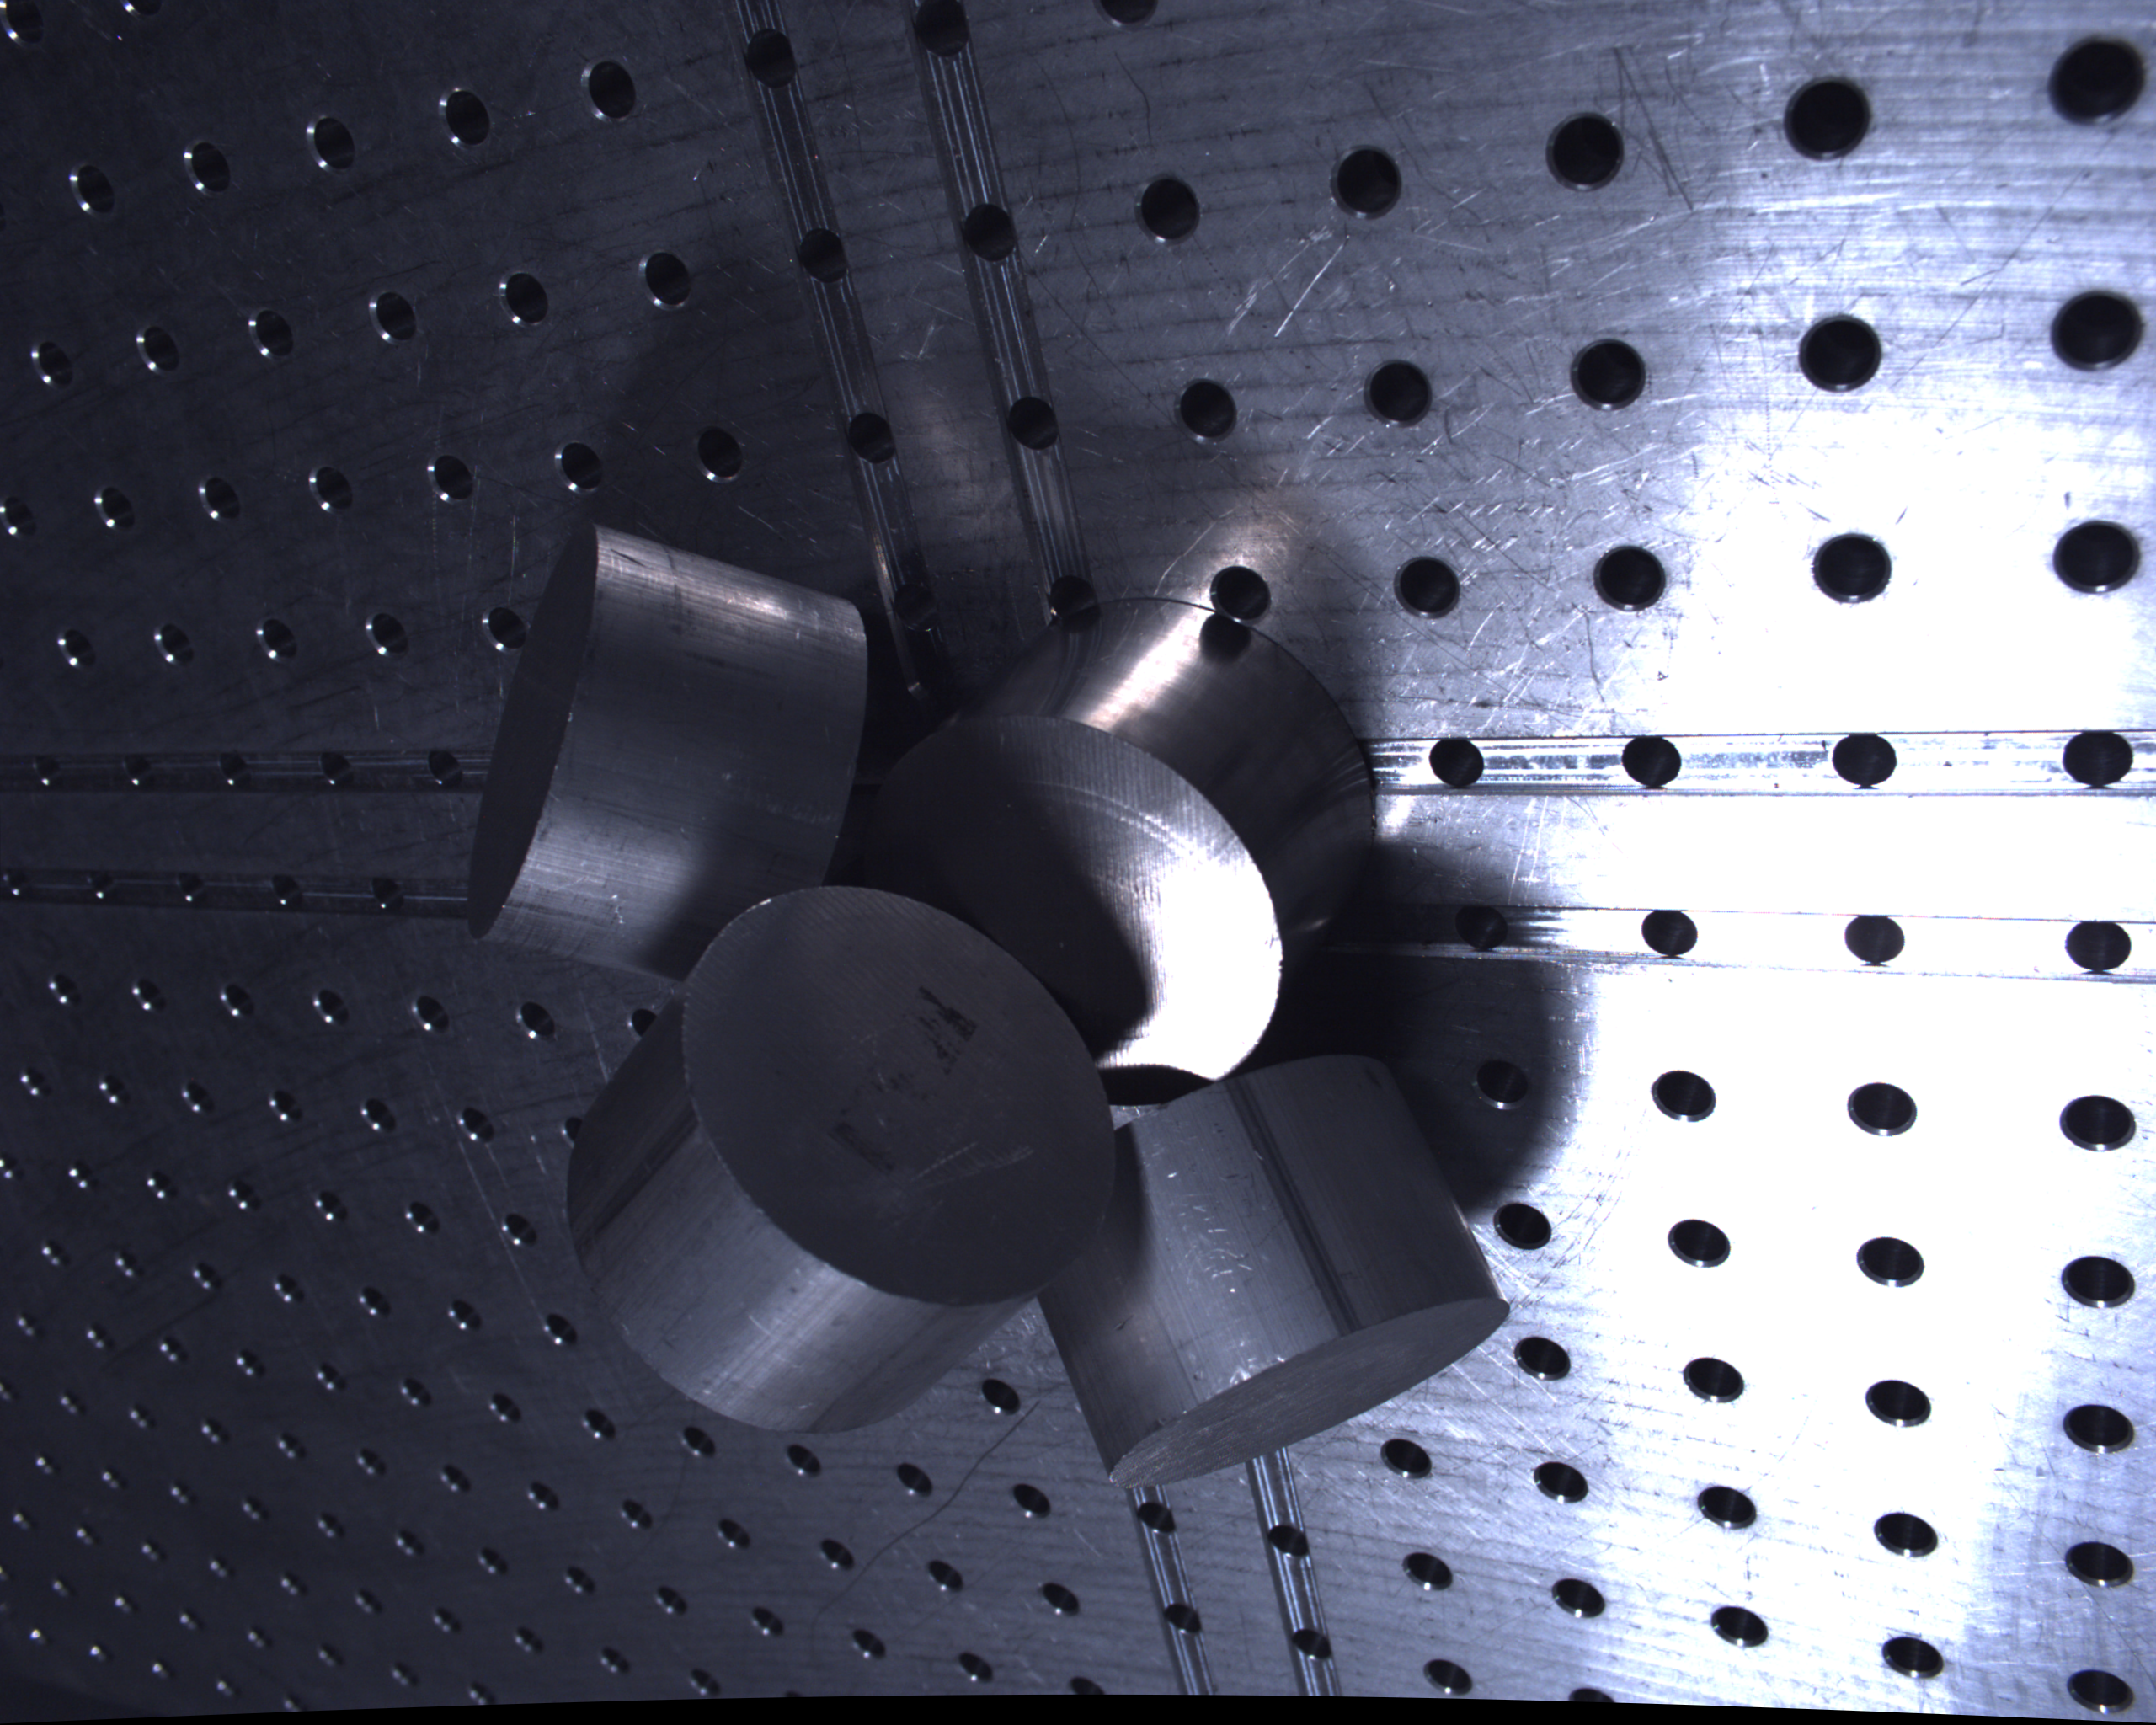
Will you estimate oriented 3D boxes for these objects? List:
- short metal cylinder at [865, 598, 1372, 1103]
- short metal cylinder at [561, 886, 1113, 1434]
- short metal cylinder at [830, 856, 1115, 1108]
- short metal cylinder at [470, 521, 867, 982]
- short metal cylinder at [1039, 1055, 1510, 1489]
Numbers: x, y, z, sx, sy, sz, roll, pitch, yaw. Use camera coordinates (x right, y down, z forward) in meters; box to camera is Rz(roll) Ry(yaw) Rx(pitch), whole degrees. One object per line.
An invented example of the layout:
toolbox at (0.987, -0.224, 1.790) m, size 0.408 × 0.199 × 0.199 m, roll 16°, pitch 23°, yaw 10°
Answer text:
short metal cylinder at (0.008, -0.002, 0.387) m, size 0.080 × 0.050 × 0.079 m, roll 13°, pitch 124°, yaw 20°
short metal cylinder at (-0.041, 0.051, 0.361) m, size 0.080 × 0.080 × 0.050 m, roll 41°, pitch 129°, yaw -1°
short metal cylinder at (-0.035, 0.043, 0.438) m, size 0.080 × 0.050 × 0.079 m, roll 13°, pitch 124°, yaw 20°
short metal cylinder at (-0.079, -0.019, 0.395) m, size 0.050 × 0.080 × 0.080 m, roll 15°, pitch 133°, yaw -23°
short metal cylinder at (0.034, 0.078, 0.396) m, size 0.080 × 0.081 × 0.050 m, roll -47°, pitch 56°, yaw 39°
